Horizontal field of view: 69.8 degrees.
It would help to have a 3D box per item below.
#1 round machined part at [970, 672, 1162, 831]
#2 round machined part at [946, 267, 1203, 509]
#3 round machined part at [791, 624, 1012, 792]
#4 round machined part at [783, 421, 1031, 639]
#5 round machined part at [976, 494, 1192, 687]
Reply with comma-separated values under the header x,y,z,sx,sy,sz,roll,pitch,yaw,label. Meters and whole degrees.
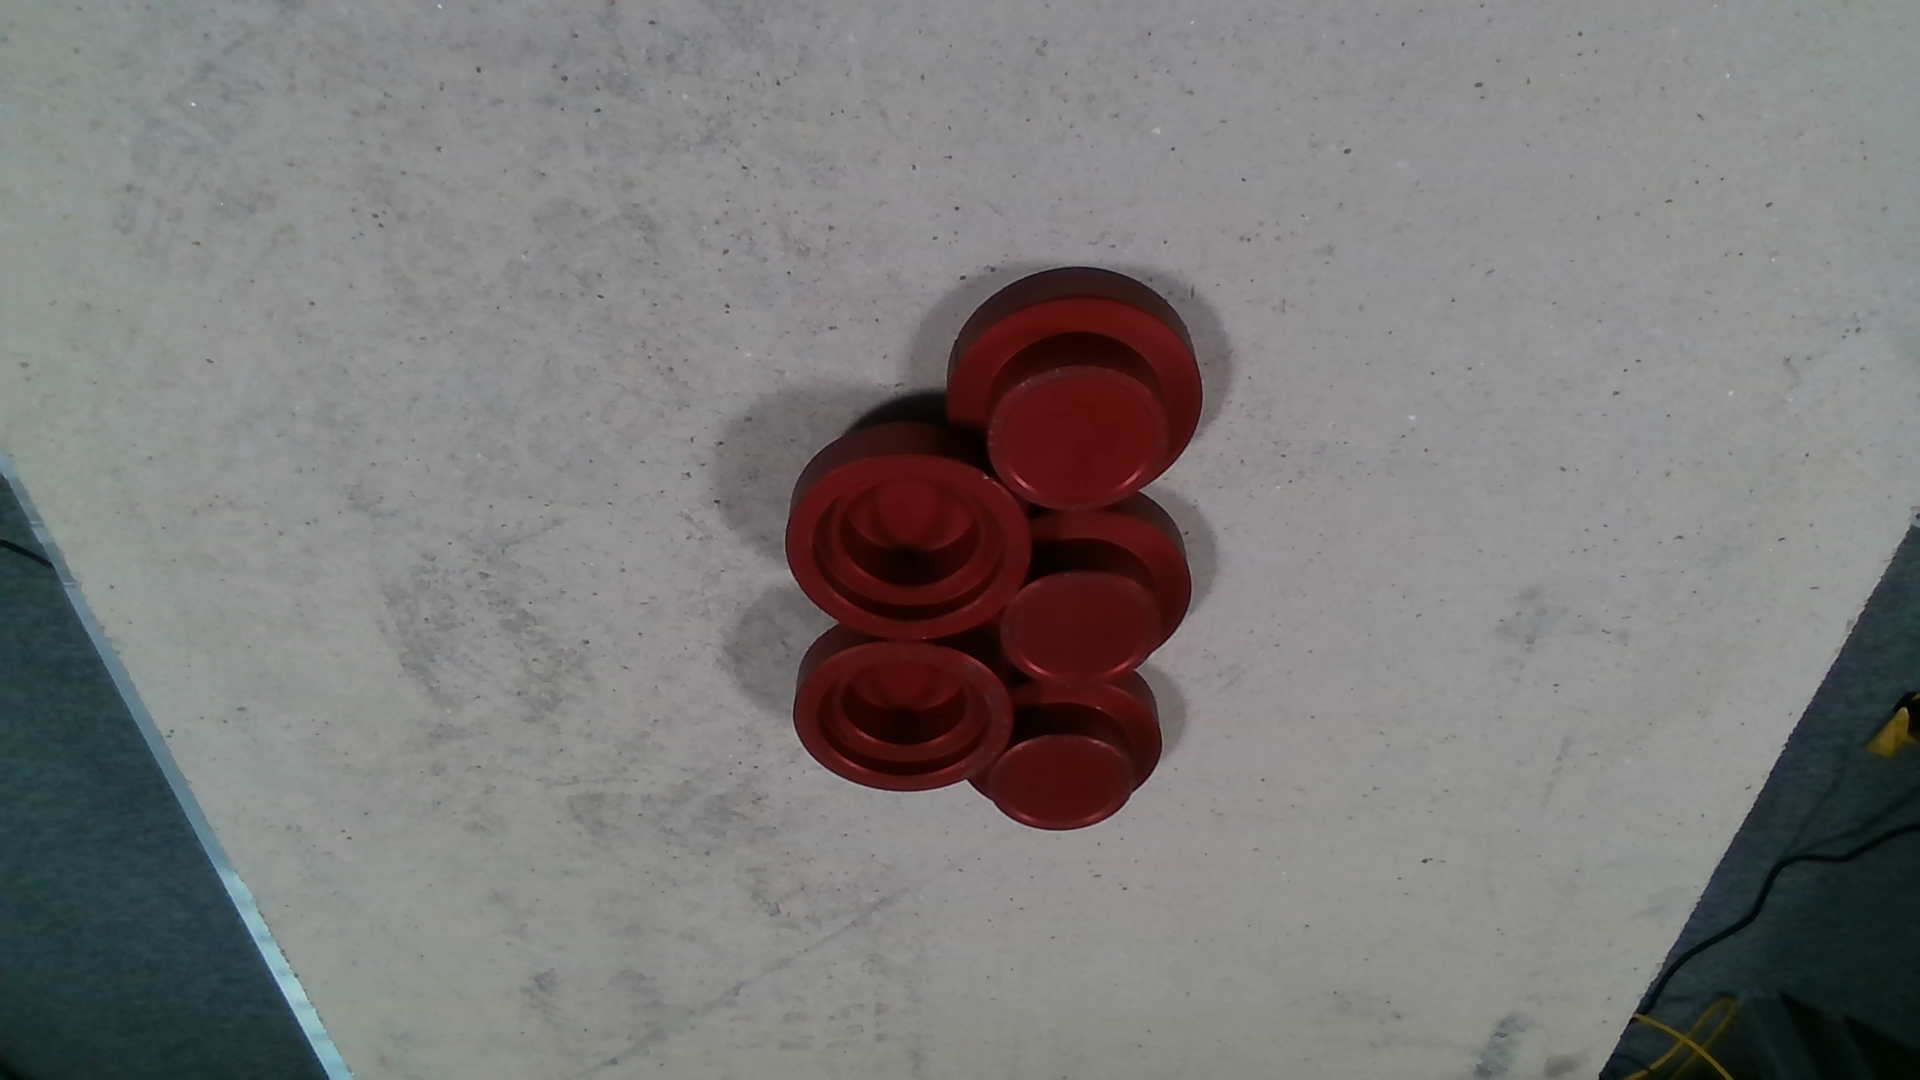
x,y,z,sx,sy,sz,roll,pitch,yaw,label
0.047,0.100,0.653,0.098,0.042,0.098,0,130,0,round machined part
0.044,-0.051,0.526,0.098,0.042,0.098,0,130,0,round machined part
-0.026,0.067,0.624,0.098,0.042,0.098,0,130,0,round machined part
-0.021,-0.009,0.561,0.098,0.042,0.098,0,130,0,round machined part
0.050,0.025,0.589,0.098,0.042,0.098,0,130,0,round machined part
